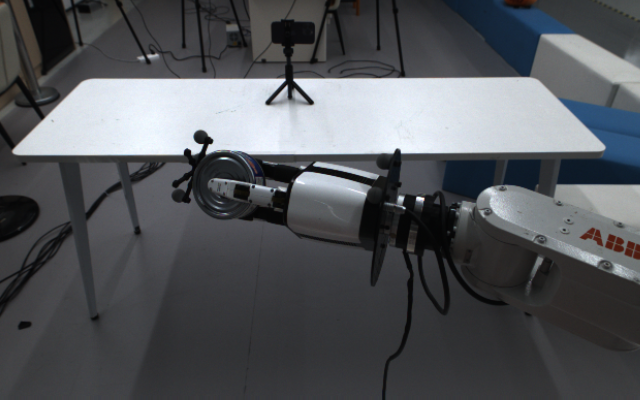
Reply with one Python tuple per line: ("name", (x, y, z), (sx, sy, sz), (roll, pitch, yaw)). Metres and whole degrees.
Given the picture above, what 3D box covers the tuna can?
("tuna can", (-0.108, -0.013, 0.592), (0.085, 0.085, 0.034), (12, 5, 14))
